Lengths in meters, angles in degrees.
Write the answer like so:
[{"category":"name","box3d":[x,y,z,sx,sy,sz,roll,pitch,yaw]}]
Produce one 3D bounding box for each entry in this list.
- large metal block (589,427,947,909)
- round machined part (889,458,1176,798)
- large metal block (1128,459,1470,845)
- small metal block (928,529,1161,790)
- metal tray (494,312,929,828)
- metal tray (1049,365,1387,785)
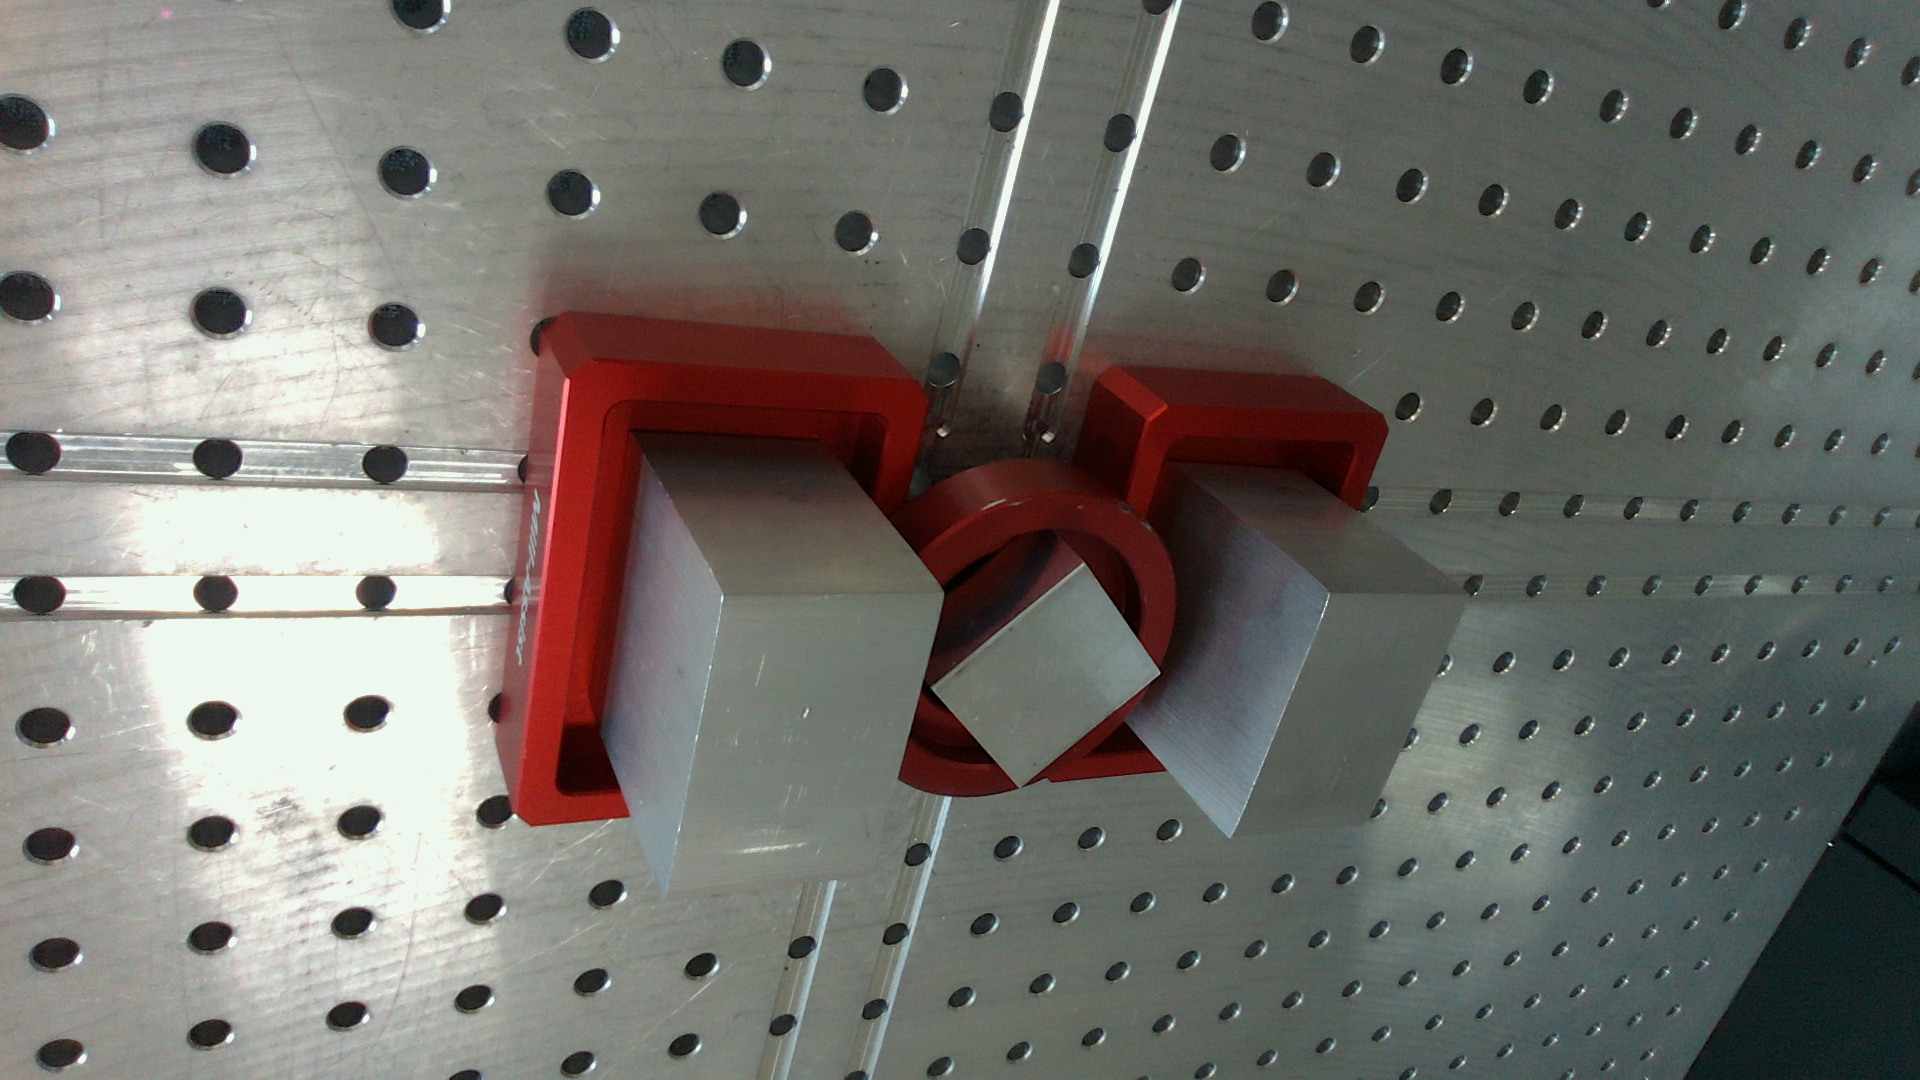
[{"category":"large metal block","box3d":[-0.051,0.027,0.329,0.050,0.080,0.080,1,118,-28]},{"category":"round machined part","box3d":[0.008,0.021,0.387,0.098,0.042,0.098,-14,124,-21]},{"category":"large metal block","box3d":[0.090,0.030,0.407,0.050,0.080,0.080,1,118,-29]},{"category":"small metal block","box3d":[0.018,0.031,0.369,0.050,0.025,0.050,-39,129,-2]},{"category":"metal tray","box3d":[-0.067,0.011,0.358,0.090,0.030,0.130,0,118,-29]},{"category":"metal tray","box3d":[0.072,0.013,0.435,0.090,0.030,0.130,0,118,-28]}]
